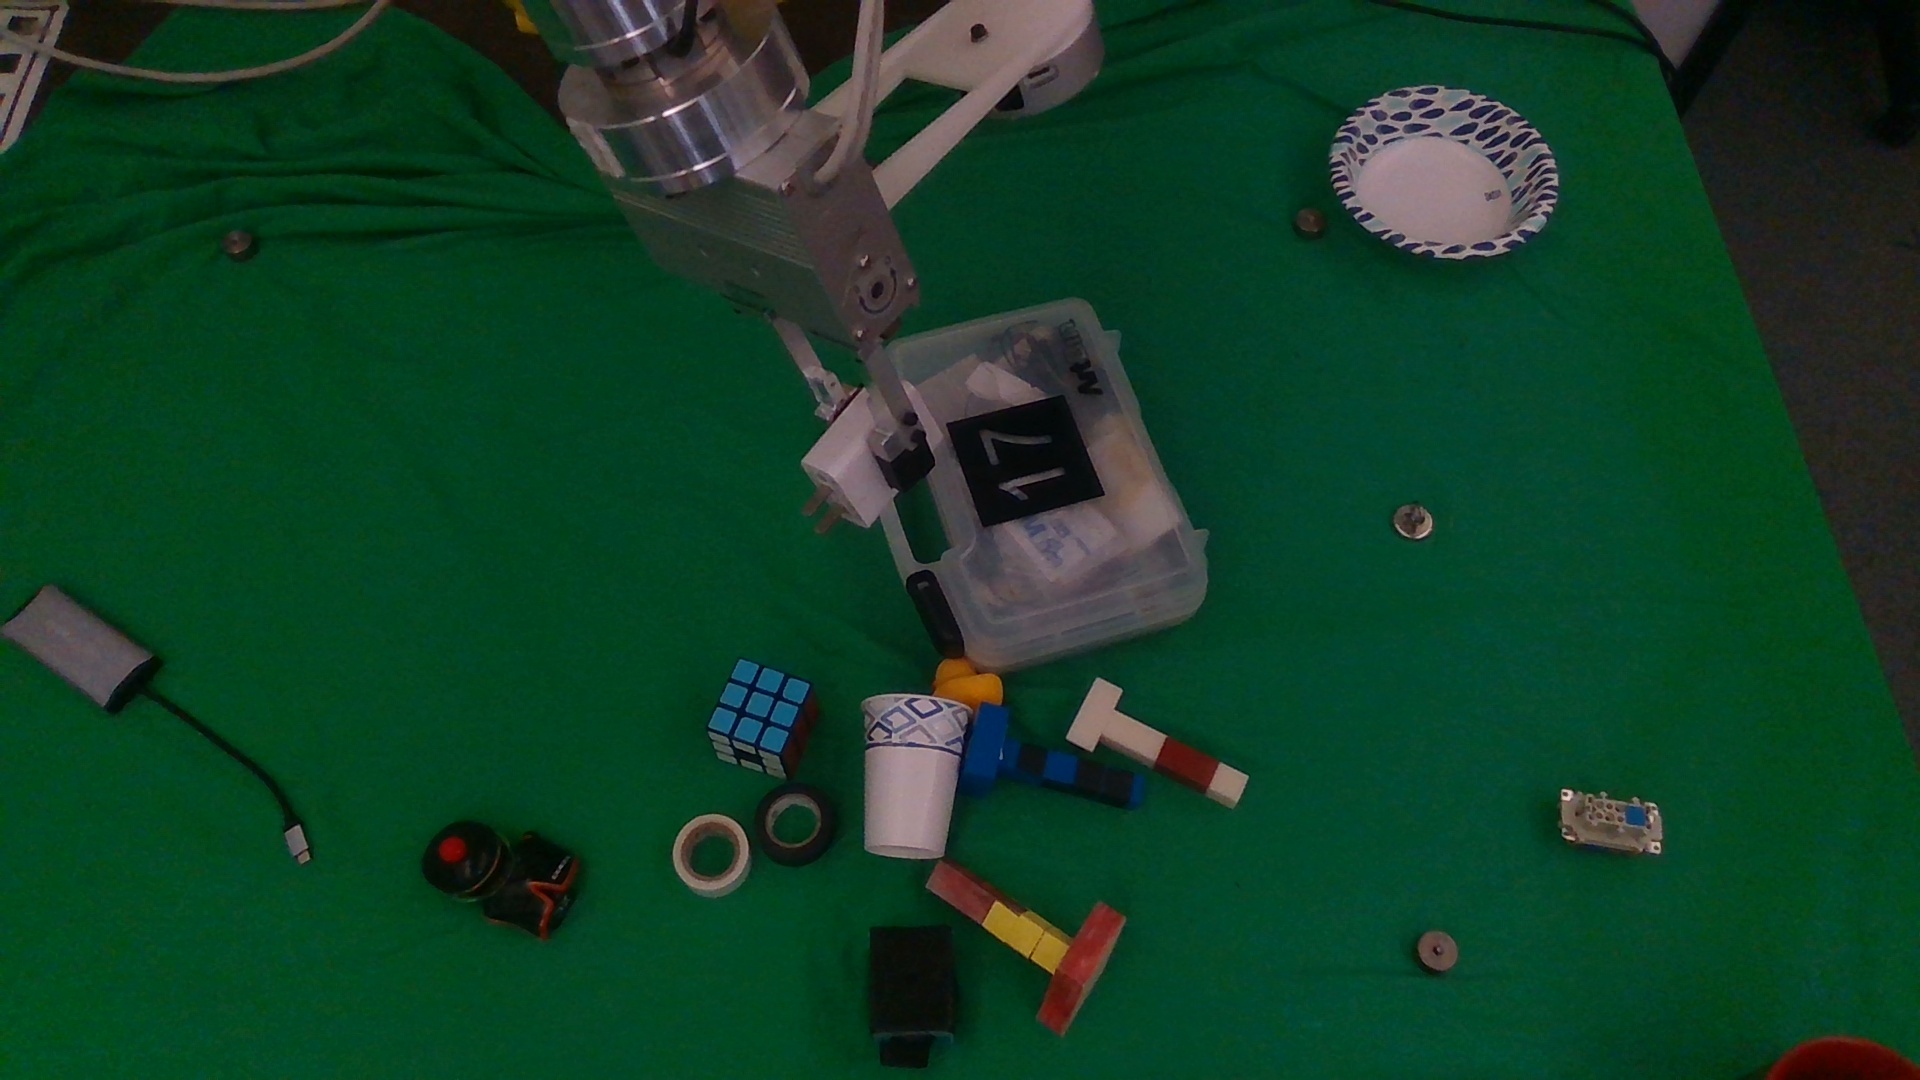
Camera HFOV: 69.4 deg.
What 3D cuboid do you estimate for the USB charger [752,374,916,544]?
[{"bbox_3d":[-0.056,-0.031,0.573,0.029,0.044,0.075,26,68,40],"label":"USB charger"}]

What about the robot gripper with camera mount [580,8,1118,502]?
[{"bbox_3d":[-0.013,-0.132,0.557,0.193,0.158,0.119,-41,45,-21],"label":"robot gripper with camera mount"}]
